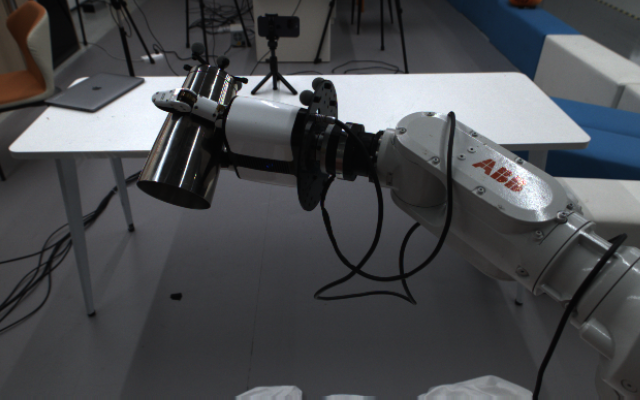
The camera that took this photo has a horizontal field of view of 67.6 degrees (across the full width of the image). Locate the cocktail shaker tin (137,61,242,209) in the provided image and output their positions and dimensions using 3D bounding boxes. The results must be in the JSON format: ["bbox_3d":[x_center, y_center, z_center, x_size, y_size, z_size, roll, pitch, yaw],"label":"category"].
[{"bbox_3d":[-0.160,-0.082,0.617,0.093,0.093,0.170,10,71,11],"label":"cocktail shaker tin"}]
